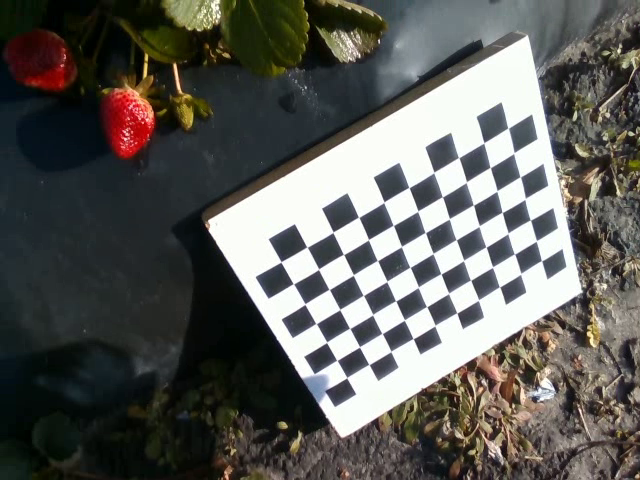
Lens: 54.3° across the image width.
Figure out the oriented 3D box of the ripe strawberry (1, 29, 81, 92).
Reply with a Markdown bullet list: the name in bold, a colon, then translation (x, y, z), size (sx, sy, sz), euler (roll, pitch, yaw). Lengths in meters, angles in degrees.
- **ripe strawberry**: translation (-0.194, -0.124, 0.433), size (0.054, 0.048, 0.039), euler (-27, 31, -36)

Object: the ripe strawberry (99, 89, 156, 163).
- **ripe strawberry**: translation (-0.138, -0.082, 0.432), size (0.043, 0.053, 0.038), euler (12, -24, -25)
